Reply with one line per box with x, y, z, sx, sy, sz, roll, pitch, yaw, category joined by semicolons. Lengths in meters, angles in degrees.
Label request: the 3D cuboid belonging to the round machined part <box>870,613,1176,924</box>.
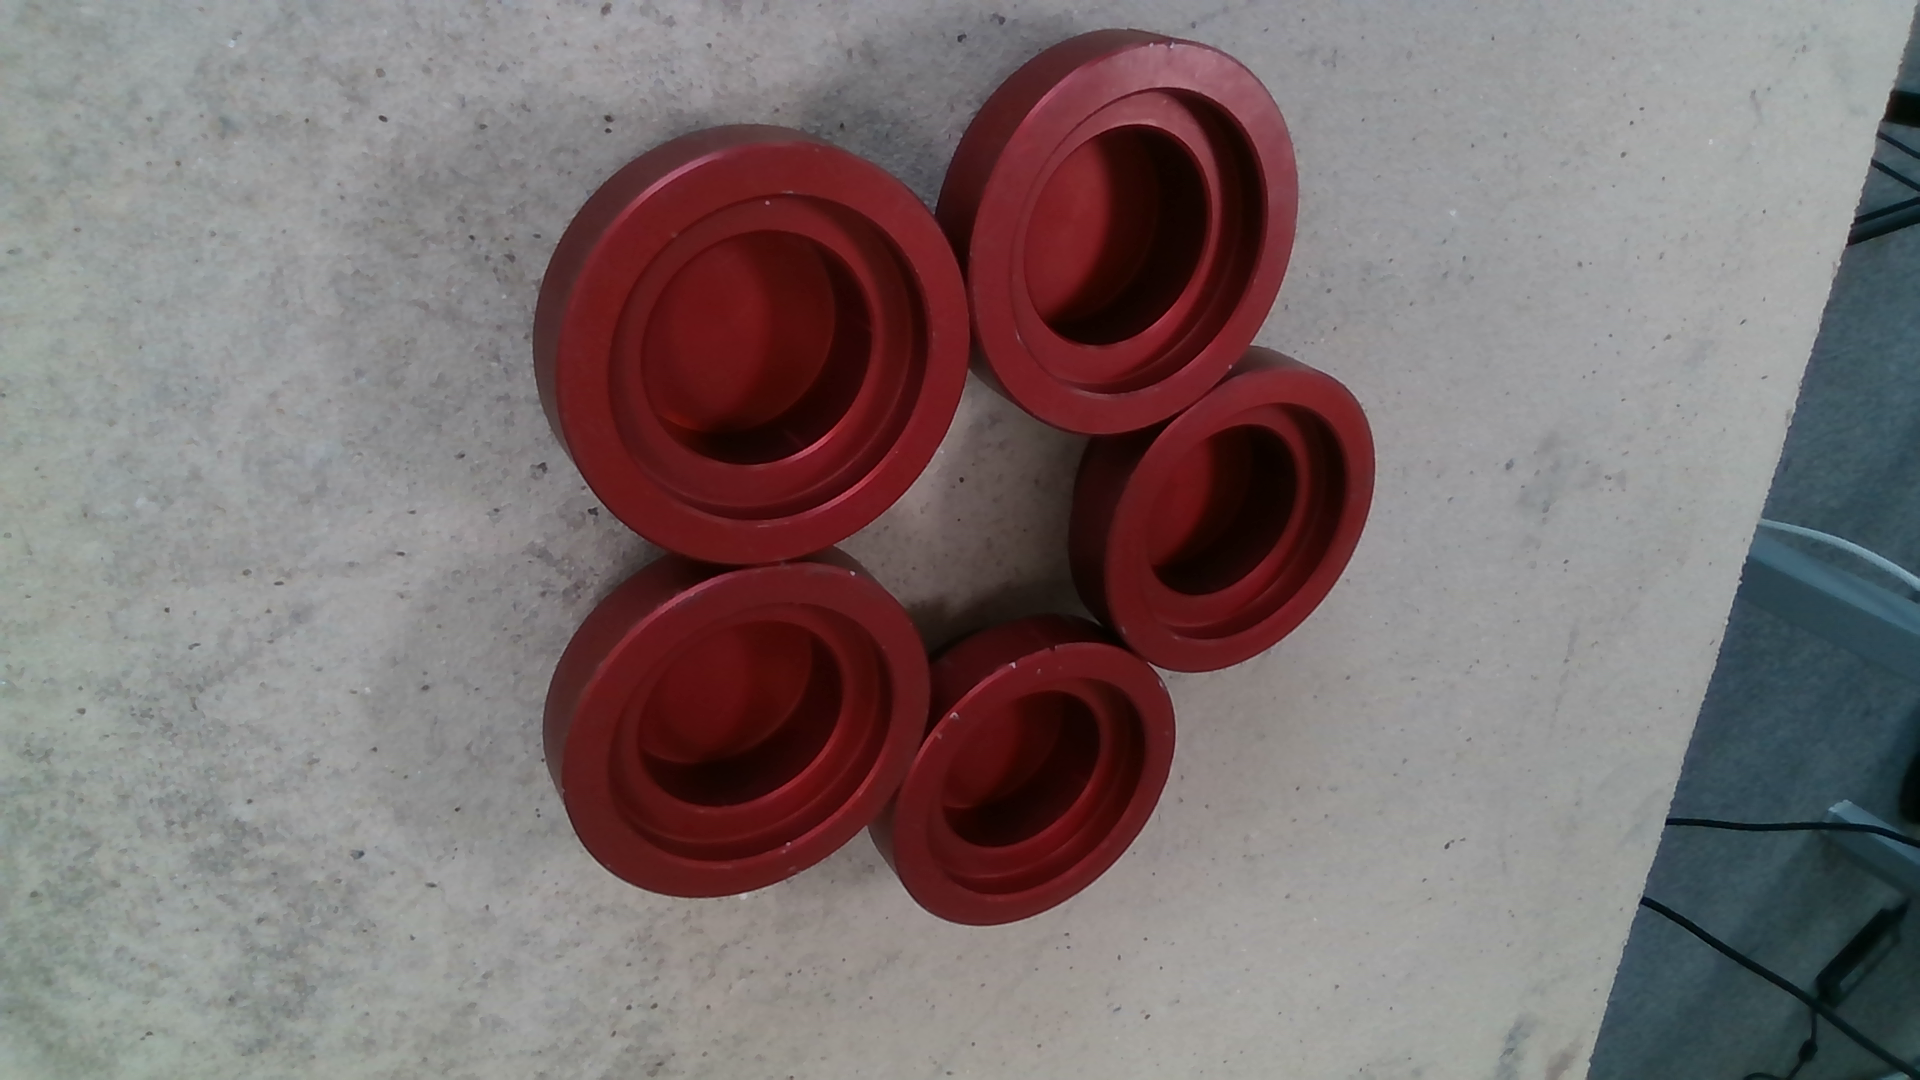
0.015;0.065;0.422;0.098;0.042;0.098;-16;123;-26;round machined part

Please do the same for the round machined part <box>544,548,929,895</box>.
-0.061;0.041;0.364;0.098;0.042;0.098;-15;123;-25;round machined part

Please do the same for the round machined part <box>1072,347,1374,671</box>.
0.074;-0.013;0.417;0.098;0.042;0.098;-16;123;-26;round machined part

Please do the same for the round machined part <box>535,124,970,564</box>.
-0.050;-0.047;0.322;0.098;0.042;0.098;-16;123;-26;round machined part

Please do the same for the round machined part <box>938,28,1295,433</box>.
0.036;-0.081;0.357;0.098;0.042;0.098;-15;122;-26;round machined part
